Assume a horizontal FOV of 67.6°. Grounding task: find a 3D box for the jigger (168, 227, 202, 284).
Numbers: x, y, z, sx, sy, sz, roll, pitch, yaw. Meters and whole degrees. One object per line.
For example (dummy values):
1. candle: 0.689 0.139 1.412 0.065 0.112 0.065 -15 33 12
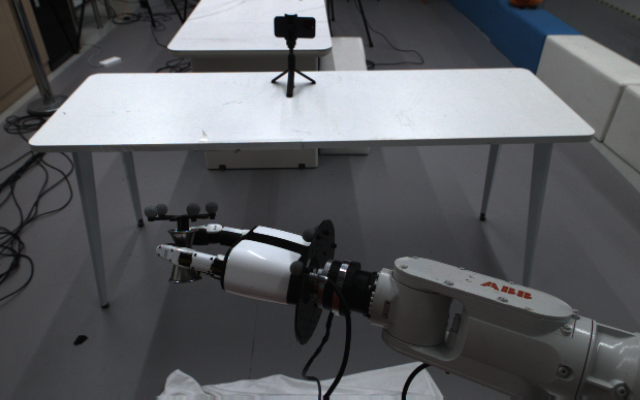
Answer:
1. jigger: -0.182 0.074 0.651 0.043 0.071 0.043 -2 4 0
